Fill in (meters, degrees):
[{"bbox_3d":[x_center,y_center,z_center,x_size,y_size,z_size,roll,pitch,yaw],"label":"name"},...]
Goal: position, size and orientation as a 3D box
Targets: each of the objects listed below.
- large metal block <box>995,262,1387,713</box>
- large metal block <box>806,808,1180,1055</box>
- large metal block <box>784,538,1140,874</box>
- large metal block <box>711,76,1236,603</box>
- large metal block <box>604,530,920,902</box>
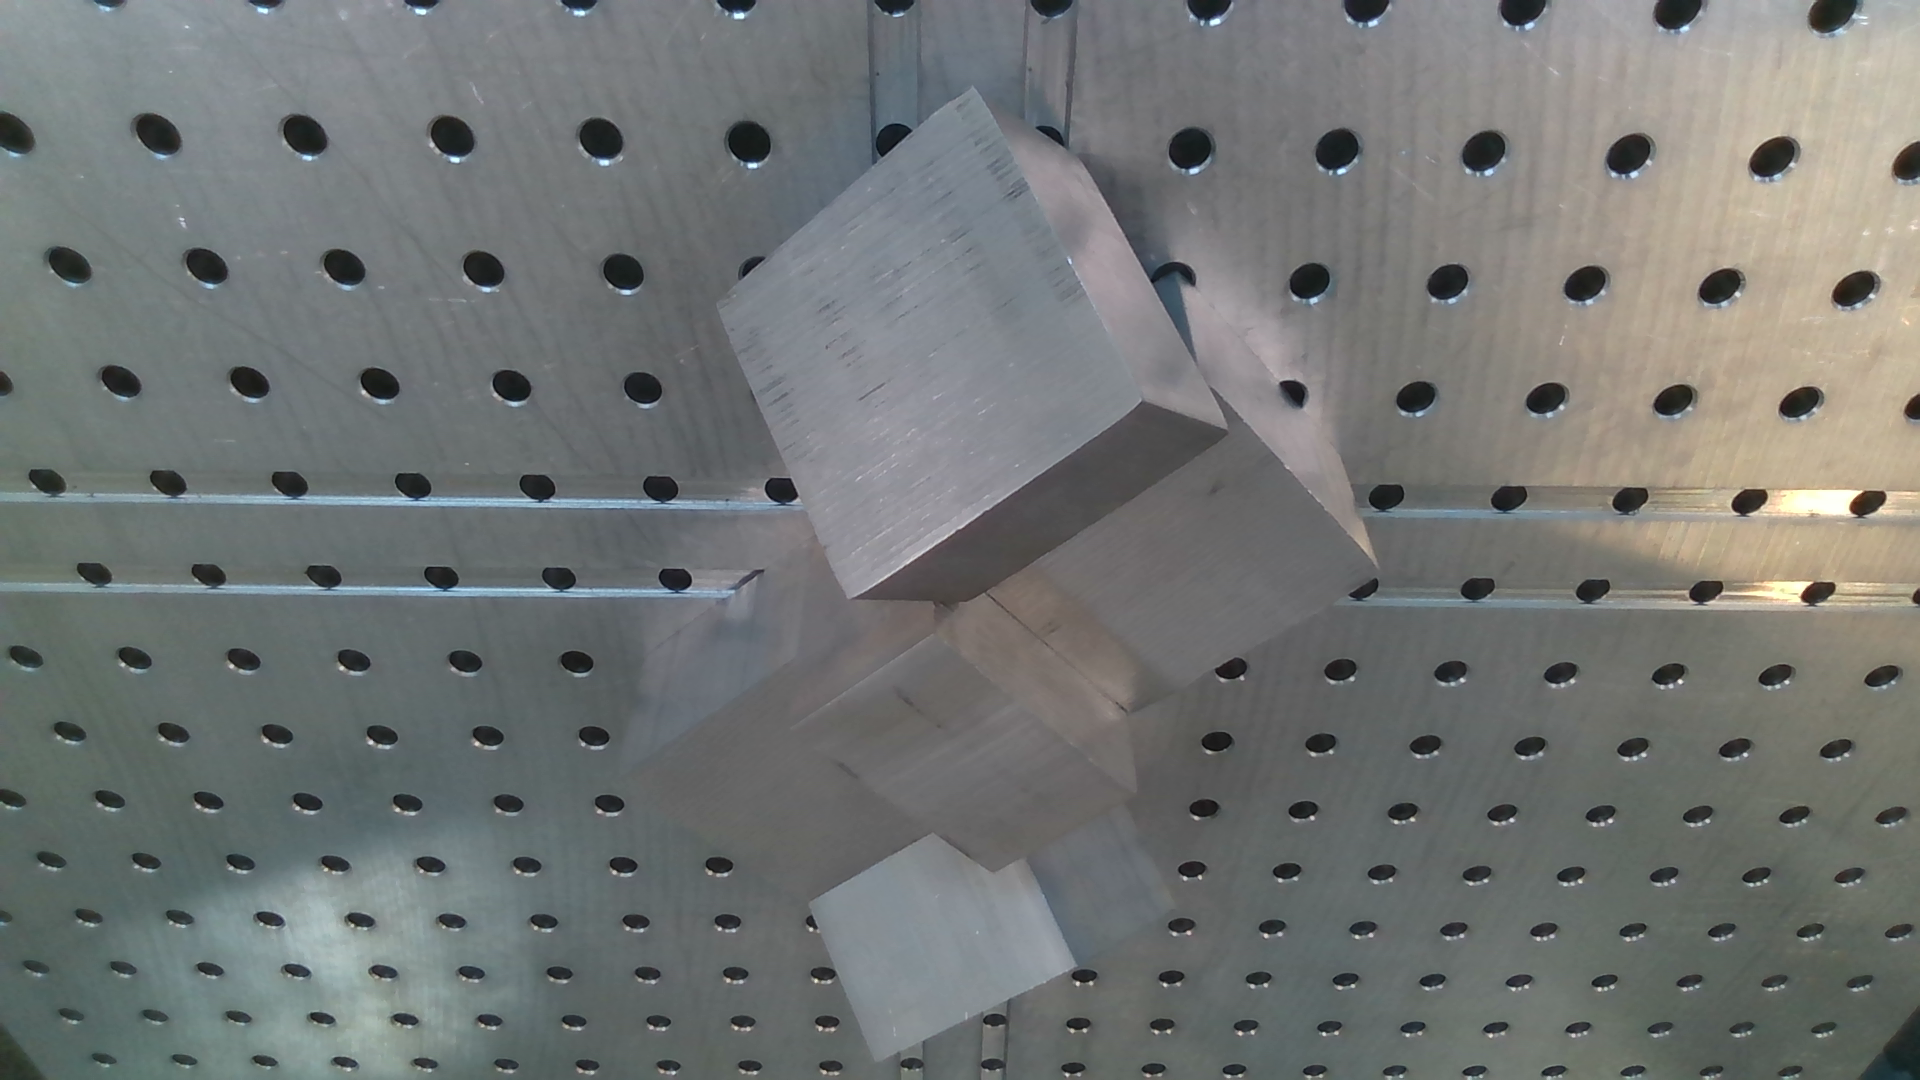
[{"bbox_3d":[0.052,-0.011,0.365,0.080,0.050,0.080,-34,121,26],"label":"large metal block"},{"bbox_3d":[0.012,0.118,0.446,0.080,0.050,0.080,-33,162,25],"label":"large metal block"},{"bbox_3d":[0.002,0.031,0.381,0.050,0.080,0.080,-34,122,27],"label":"large metal block"},{"bbox_3d":[0.002,-0.040,0.312,0.080,0.080,0.050,-34,161,25],"label":"large metal block"},{"bbox_3d":[-0.047,0.055,0.421,0.080,0.050,0.080,-34,122,24],"label":"large metal block"}]
